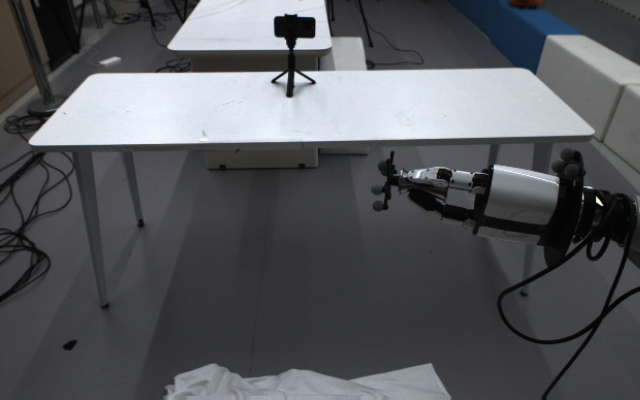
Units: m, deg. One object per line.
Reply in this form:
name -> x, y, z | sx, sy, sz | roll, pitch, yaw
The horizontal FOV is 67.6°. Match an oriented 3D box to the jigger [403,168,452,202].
jigger -> 0.155, -0.027, 0.692 | 0.071, 0.043, 0.043 | 7, 35, 15
